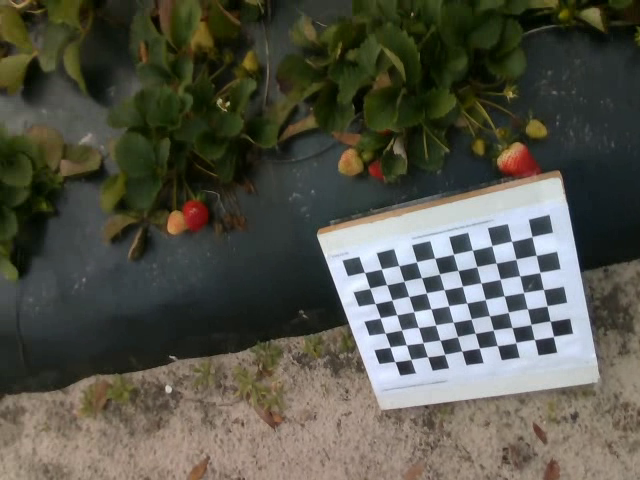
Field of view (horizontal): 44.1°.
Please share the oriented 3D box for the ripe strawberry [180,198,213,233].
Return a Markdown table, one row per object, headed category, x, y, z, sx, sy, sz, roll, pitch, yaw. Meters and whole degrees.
| category | x | y | z | sx | sy | sz | roll | pitch | yaw |
| --- | --- | --- | --- | --- | --- | --- | --- | --- | --- |
| ripe strawberry | -0.157 | -0.028 | 0.962 | 0.034 | 0.042 | 0.033 | 16 | -30 | 9 |
